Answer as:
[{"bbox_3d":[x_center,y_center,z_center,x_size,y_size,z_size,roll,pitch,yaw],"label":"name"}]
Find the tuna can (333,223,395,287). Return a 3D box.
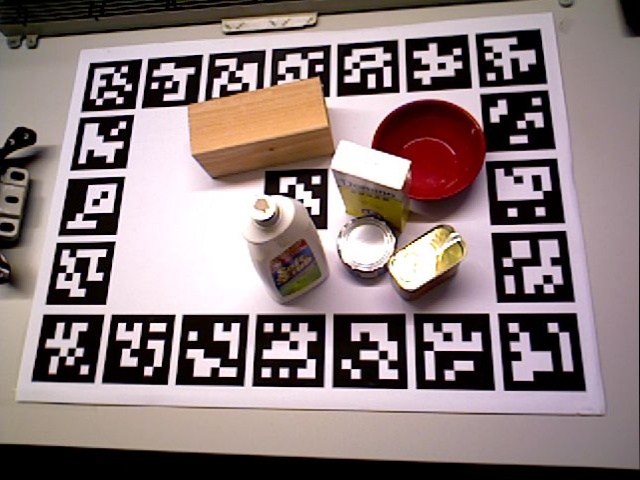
[{"bbox_3d":[0.062,0.022,0.757,0.086,0.034,0.085,-3,74,9],"label":"tuna can"}]

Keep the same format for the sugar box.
[{"bbox_3d":[0.077,-0.060,0.706,0.093,0.177,0.045,19,76,18],"label":"sugar box"}]

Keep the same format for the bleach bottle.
[{"bbox_3d":[-0.051,0.010,0.667,0.102,0.253,0.067,-25,68,-1],"label":"bleach bottle"}]

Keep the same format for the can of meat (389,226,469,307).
[{"bbox_3d":[0.143,0.039,0.718,0.101,0.084,0.057,-29,66,-4],"label":"can of meat"}]

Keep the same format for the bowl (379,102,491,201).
[{"bbox_3d":[0.166,-0.118,0.777,0.162,0.055,0.160,-5,70,12],"label":"bowl"}]

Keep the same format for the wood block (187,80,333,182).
[{"bbox_3d":[-0.090,-0.161,0.819,0.206,0.090,0.090,-10,74,5],"label":"wood block"}]
